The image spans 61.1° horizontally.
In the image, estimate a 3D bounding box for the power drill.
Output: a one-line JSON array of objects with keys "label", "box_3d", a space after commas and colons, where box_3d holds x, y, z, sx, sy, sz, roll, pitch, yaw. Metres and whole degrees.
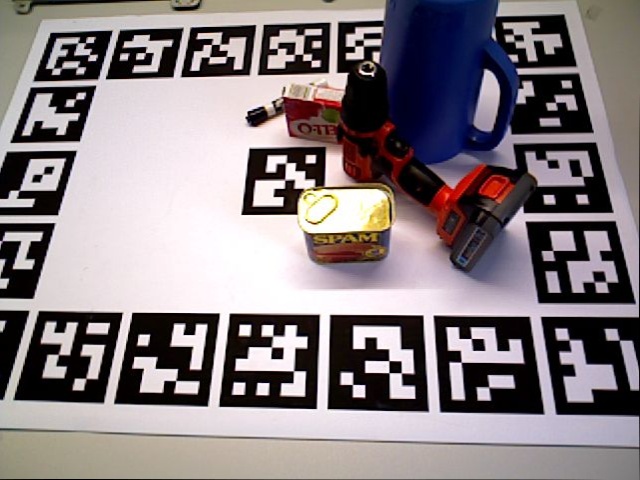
[{"label": "power drill", "box_3d": [0.095, -0.091, 0.572, 0.187, 0.187, 0.056, 35, 72, 13]}]

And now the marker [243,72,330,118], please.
[{"label": "marker", "box_3d": [-0.045, -0.192, 0.721, 0.120, 0.020, 0.019, -24, 65, -6]}]

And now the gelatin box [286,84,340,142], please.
[{"label": "gelatin box", "box_3d": [0.006, -0.154, 0.672, 0.089, 0.074, 0.030, 11, 68, 8]}]

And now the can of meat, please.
[{"label": "can of meat", "box_3d": [0.028, -0.012, 0.592, 0.101, 0.085, 0.057, 0, 61, 4]}]

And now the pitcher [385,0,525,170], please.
[{"label": "pitcher", "box_3d": [0.146, -0.193, 0.591, 0.189, 0.245, 0.132, 29, 71, 24]}]
